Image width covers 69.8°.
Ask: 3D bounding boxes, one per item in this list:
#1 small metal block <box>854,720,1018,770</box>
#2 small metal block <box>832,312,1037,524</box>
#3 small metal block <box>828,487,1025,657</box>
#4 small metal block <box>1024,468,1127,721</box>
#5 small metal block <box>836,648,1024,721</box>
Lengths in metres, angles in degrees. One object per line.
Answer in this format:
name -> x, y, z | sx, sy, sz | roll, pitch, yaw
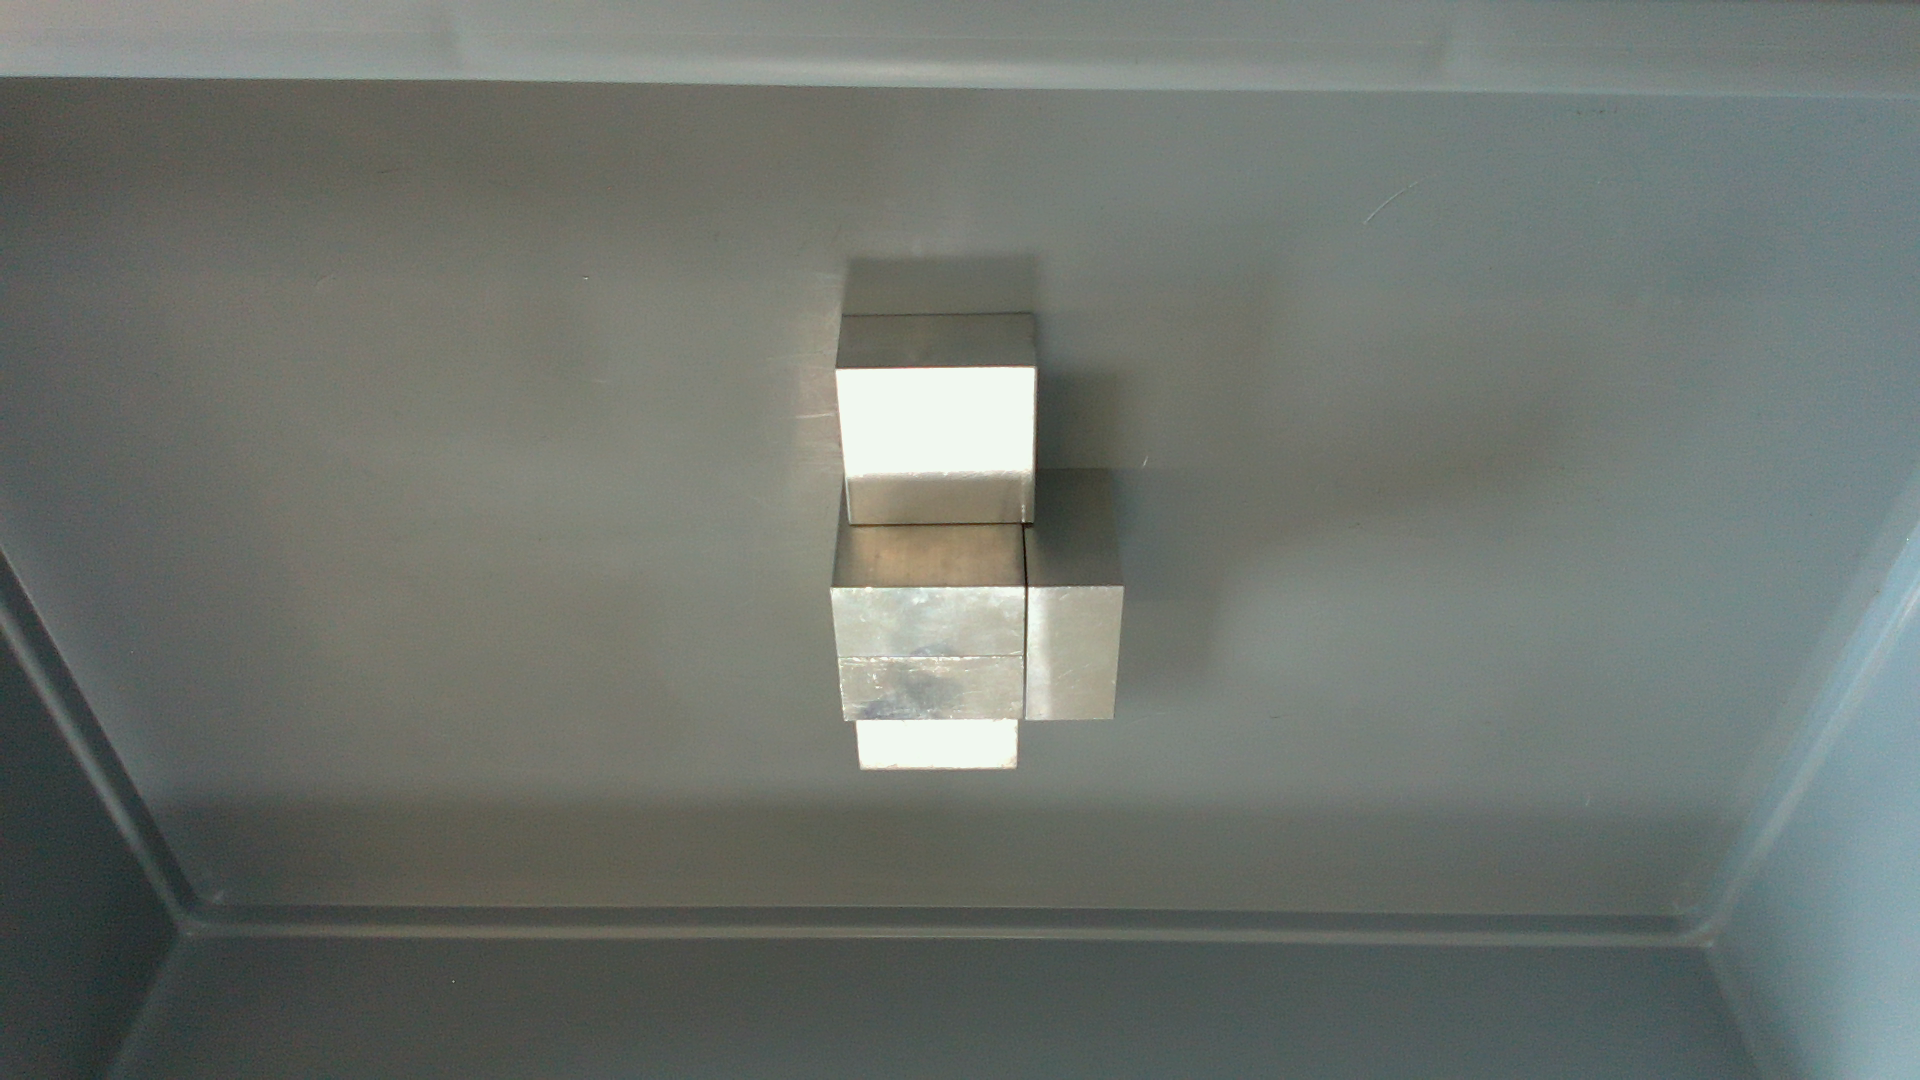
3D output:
small metal block -> -0.007, 0.045, 0.427 | 0.050, 0.025, 0.050 | 0, 130, 0
small metal block -> -0.006, -0.032, 0.362 | 0.050, 0.025, 0.050 | 0, 130, 0
small metal block -> -0.008, 0.005, 0.377 | 0.050, 0.050, 0.025 | 0, 130, 0
small metal block -> 0.030, 0.015, 0.385 | 0.025, 0.050, 0.050 | 0, 130, 0
small metal block -> -0.008, 0.024, 0.393 | 0.050, 0.050, 0.025 | 0, 130, 0
